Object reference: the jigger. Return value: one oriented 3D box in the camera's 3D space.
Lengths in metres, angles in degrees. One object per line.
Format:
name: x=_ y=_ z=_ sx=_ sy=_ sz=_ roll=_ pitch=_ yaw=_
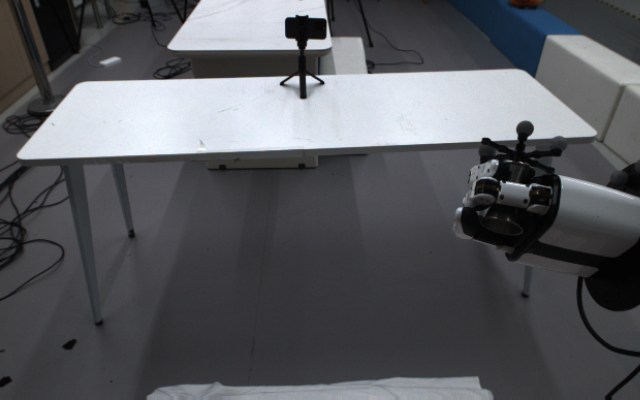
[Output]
jigger: x=0.200 y=-0.004 z=0.510 sx=0.043 sy=0.043 sz=0.071 roll=15 pitch=70 yaw=18
